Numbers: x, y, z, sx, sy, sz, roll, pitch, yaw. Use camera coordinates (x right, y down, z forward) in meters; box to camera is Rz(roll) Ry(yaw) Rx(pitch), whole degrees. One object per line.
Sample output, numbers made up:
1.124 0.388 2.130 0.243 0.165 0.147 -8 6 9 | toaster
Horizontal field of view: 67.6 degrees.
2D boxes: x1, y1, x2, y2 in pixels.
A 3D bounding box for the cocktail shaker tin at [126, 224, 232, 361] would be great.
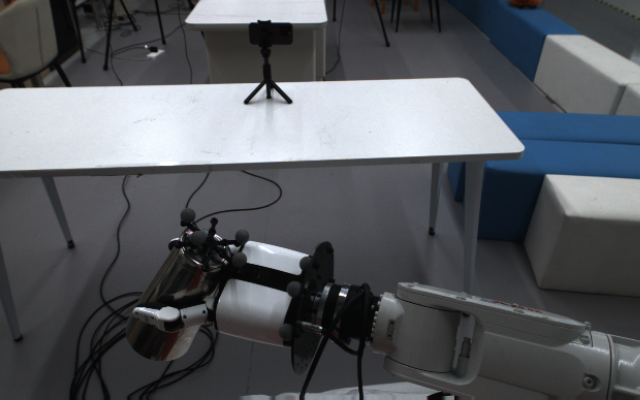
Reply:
-0.175 0.114 0.616 0.093 0.170 0.093 26 32 -17 | cocktail shaker tin
